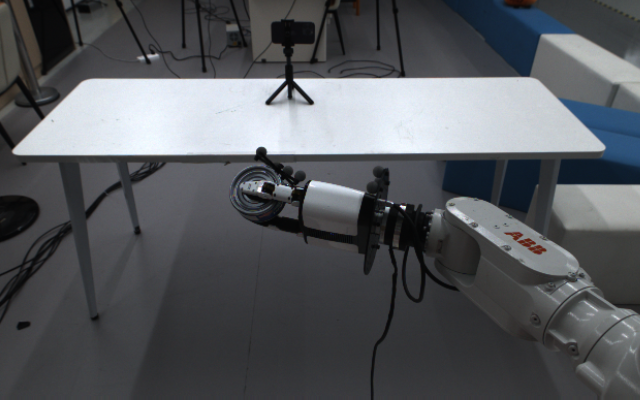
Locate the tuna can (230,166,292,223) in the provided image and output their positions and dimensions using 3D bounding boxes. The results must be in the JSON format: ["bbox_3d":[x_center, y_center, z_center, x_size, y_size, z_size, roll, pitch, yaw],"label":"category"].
[{"bbox_3d":[-0.093,-0.004,0.748,0.085,0.034,0.085,-4,69,10],"label":"tuna can"}]
